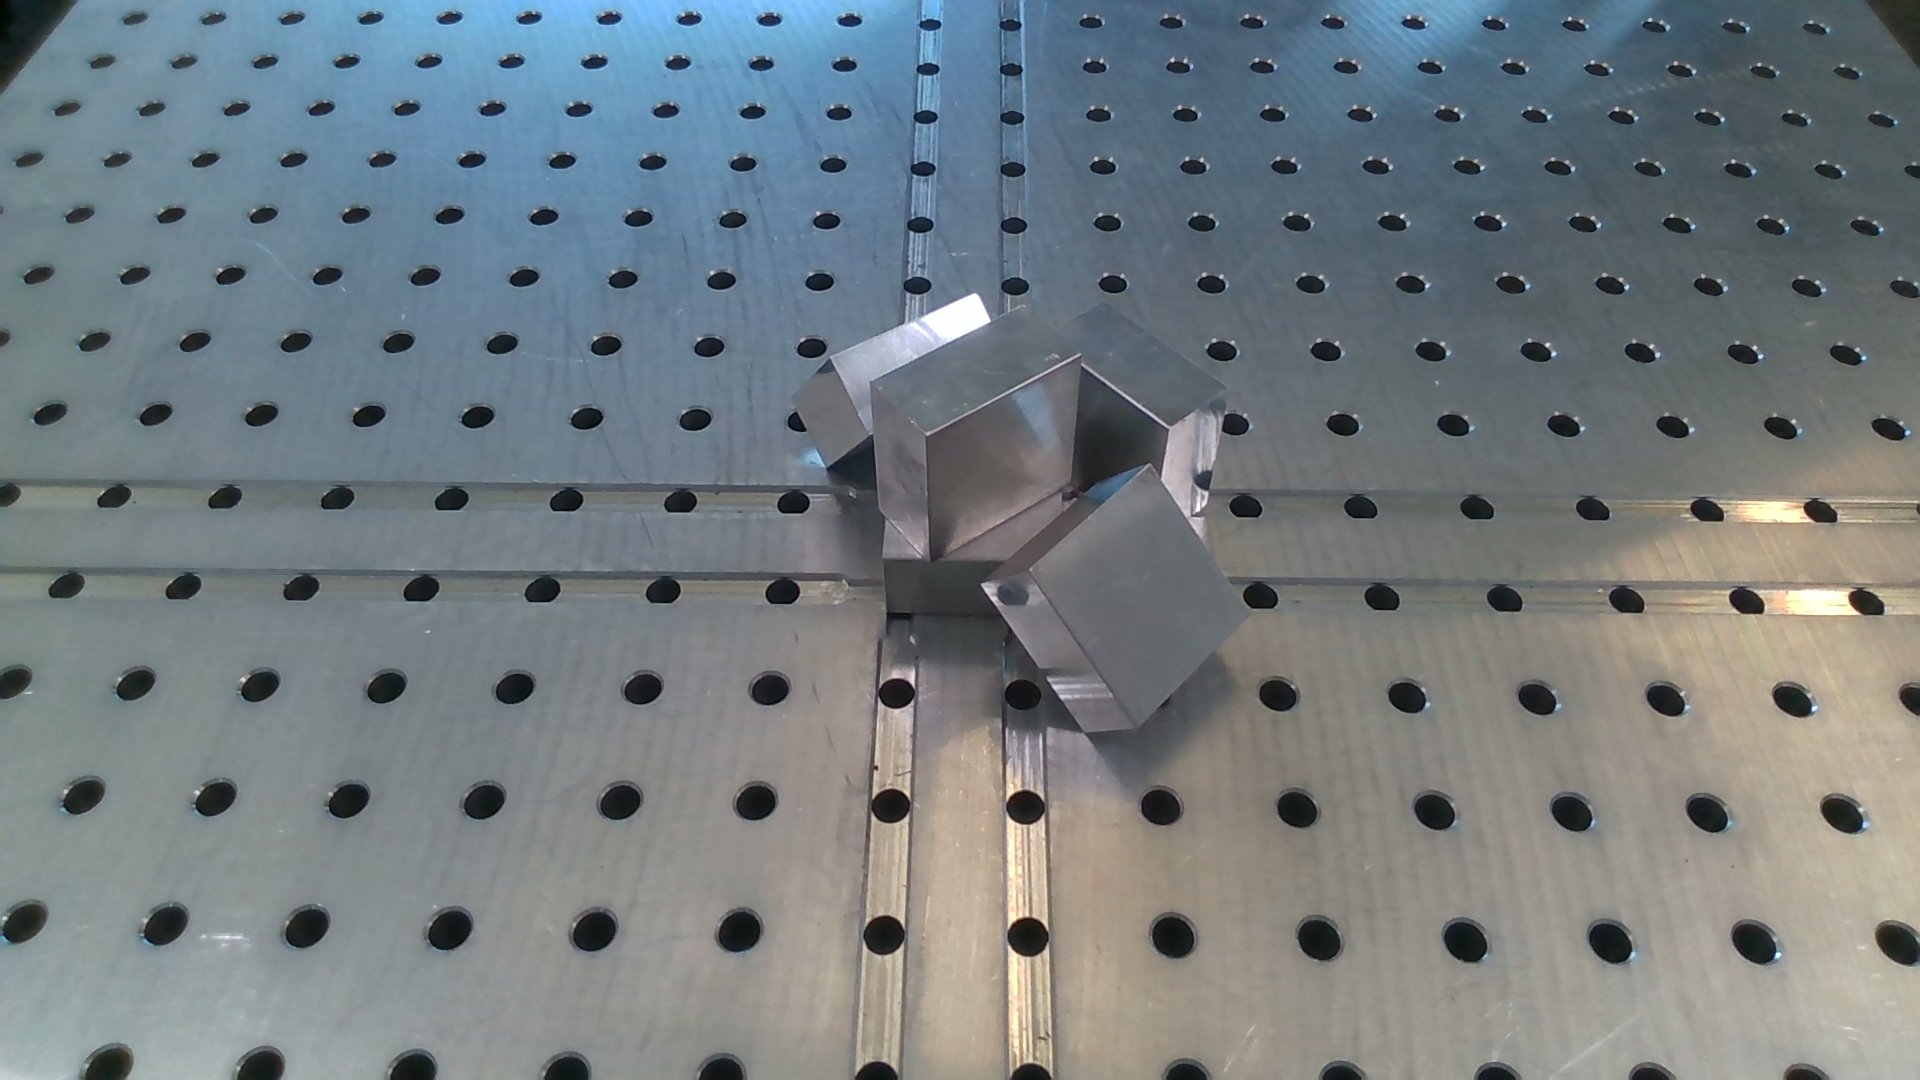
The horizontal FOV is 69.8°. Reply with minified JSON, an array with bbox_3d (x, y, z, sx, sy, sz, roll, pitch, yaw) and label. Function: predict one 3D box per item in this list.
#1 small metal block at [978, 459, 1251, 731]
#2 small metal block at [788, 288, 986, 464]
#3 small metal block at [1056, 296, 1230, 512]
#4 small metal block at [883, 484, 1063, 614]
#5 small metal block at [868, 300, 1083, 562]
[{"bbox_3d":[0.042,0.015,0.367,0.050,0.025,0.050,-40,100,-28],"label":"small metal block"},{"bbox_3d":[-0.019,-0.049,0.418,0.050,0.050,0.025,-27,92,-21],"label":"small metal block"},{"bbox_3d":[0.050,-0.036,0.410,0.025,0.050,0.050,-34,58,-25],"label":"small metal block"},{"bbox_3d":[0.004,-0.006,0.402,0.050,0.025,0.050,0,51,0],"label":"small metal block"},{"bbox_3d":[0.004,-0.029,0.372,0.050,0.050,0.025,-30,57,-22],"label":"small metal block"}]
